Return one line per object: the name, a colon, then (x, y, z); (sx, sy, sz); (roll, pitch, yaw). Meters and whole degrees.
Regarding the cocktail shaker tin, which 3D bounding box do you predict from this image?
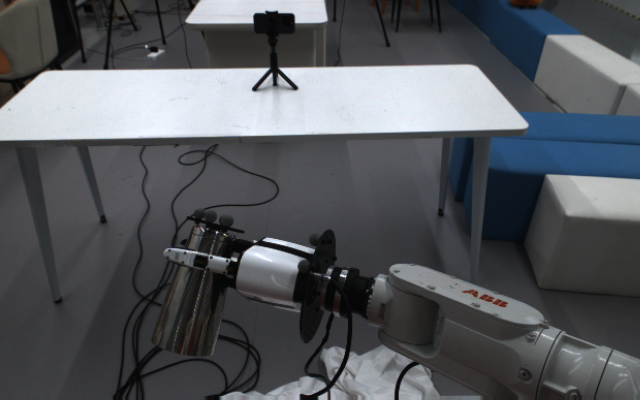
cocktail shaker tin: (-0.175, 0.125, 0.703); (0.093, 0.170, 0.093); (15, -5, 1)
